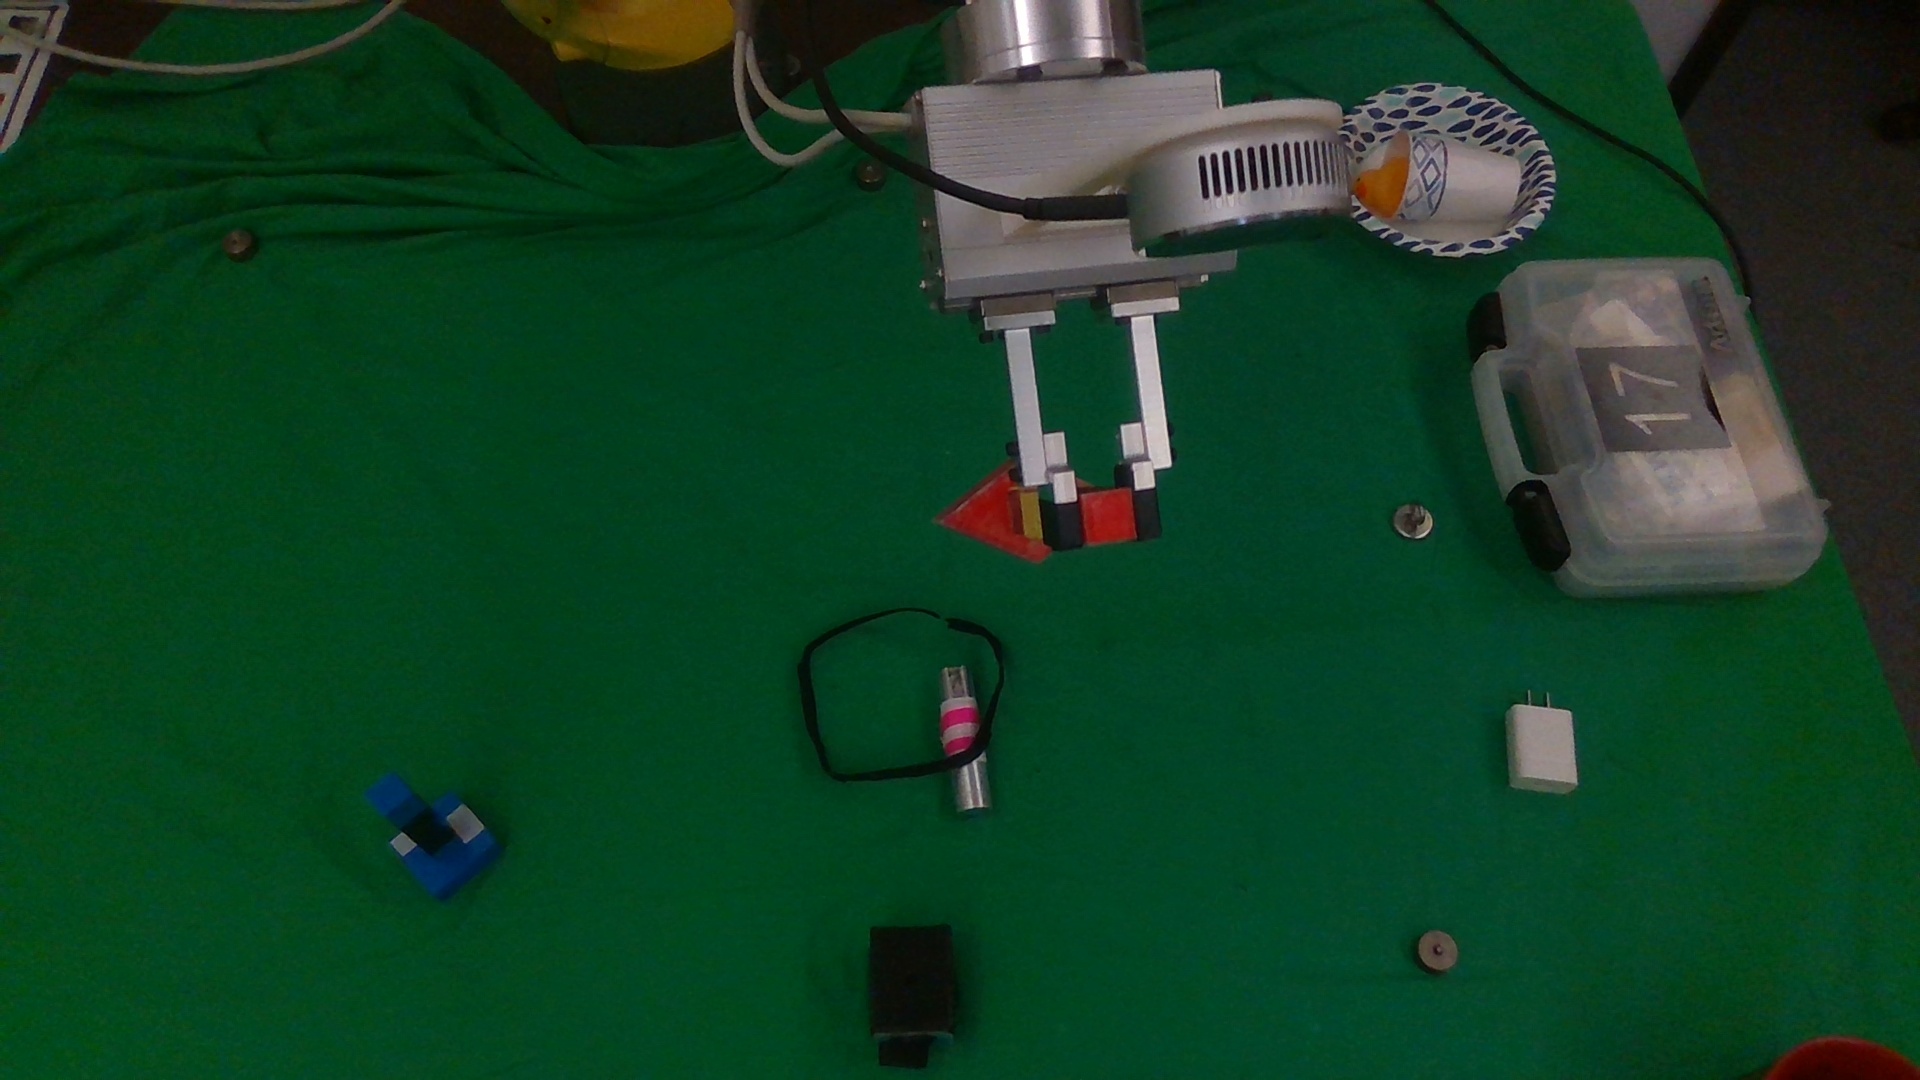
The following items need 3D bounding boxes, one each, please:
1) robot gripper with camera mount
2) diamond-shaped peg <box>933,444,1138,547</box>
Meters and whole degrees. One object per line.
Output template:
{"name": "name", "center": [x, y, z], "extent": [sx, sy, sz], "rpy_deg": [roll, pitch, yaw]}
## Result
{"name": "robot gripper with camera mount", "center": [0.072, -0.082, 0.468], "extent": [0.118, 0.194, 0.158], "rpy_deg": [-10, 97, -20]}
{"name": "diamond-shaped peg", "center": [0.042, -0.018, 0.584], "extent": [0.074, 0.122, 0.045], "rpy_deg": [-38, 102, -8]}
